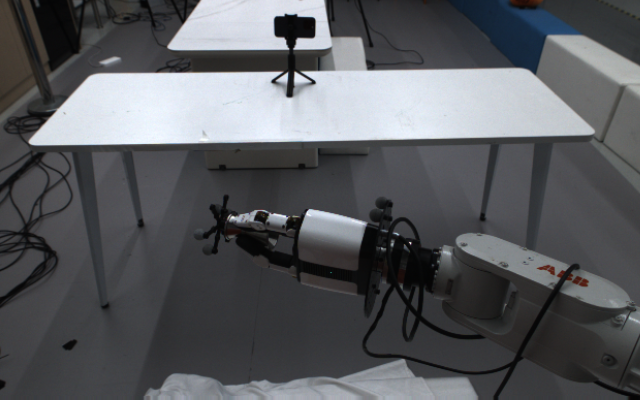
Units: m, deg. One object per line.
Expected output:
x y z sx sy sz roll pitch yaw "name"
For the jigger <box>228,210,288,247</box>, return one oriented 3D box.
-0.091 0.039 0.692 0.071 0.043 0.043 10 35 16 "jigger"
